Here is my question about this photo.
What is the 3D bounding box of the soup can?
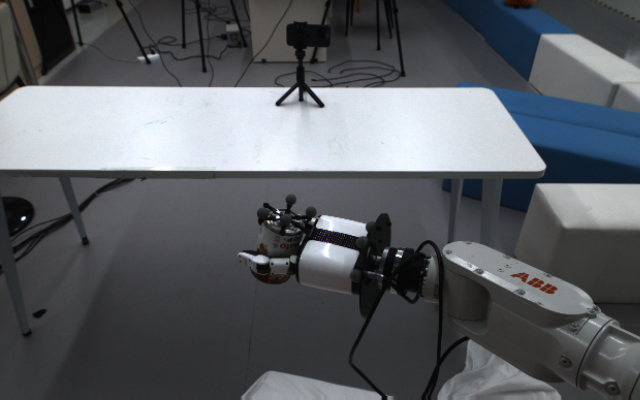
[{"bbox_3d":[-0.066,0.073,0.759,0.067,0.101,0.067,13,31,-8],"label":"soup can"}]
